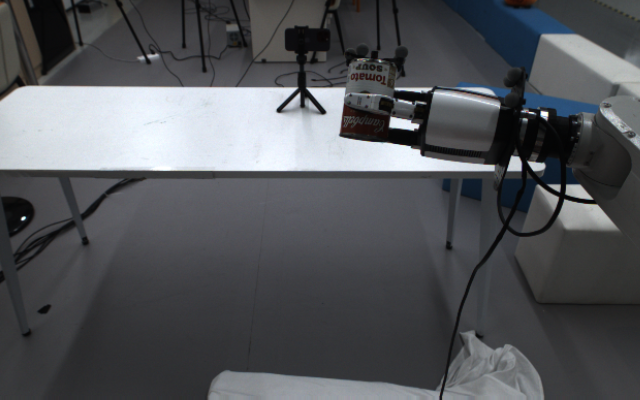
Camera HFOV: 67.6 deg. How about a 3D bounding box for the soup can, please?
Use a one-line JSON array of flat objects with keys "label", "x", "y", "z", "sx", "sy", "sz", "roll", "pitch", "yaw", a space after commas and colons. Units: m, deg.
[{"label": "soup can", "x": 0.066, "y": -0.135, "z": 0.662, "sx": 0.067, "sy": 0.101, "sz": 0.067, "roll": 7, "pitch": 4, "yaw": 0}]
